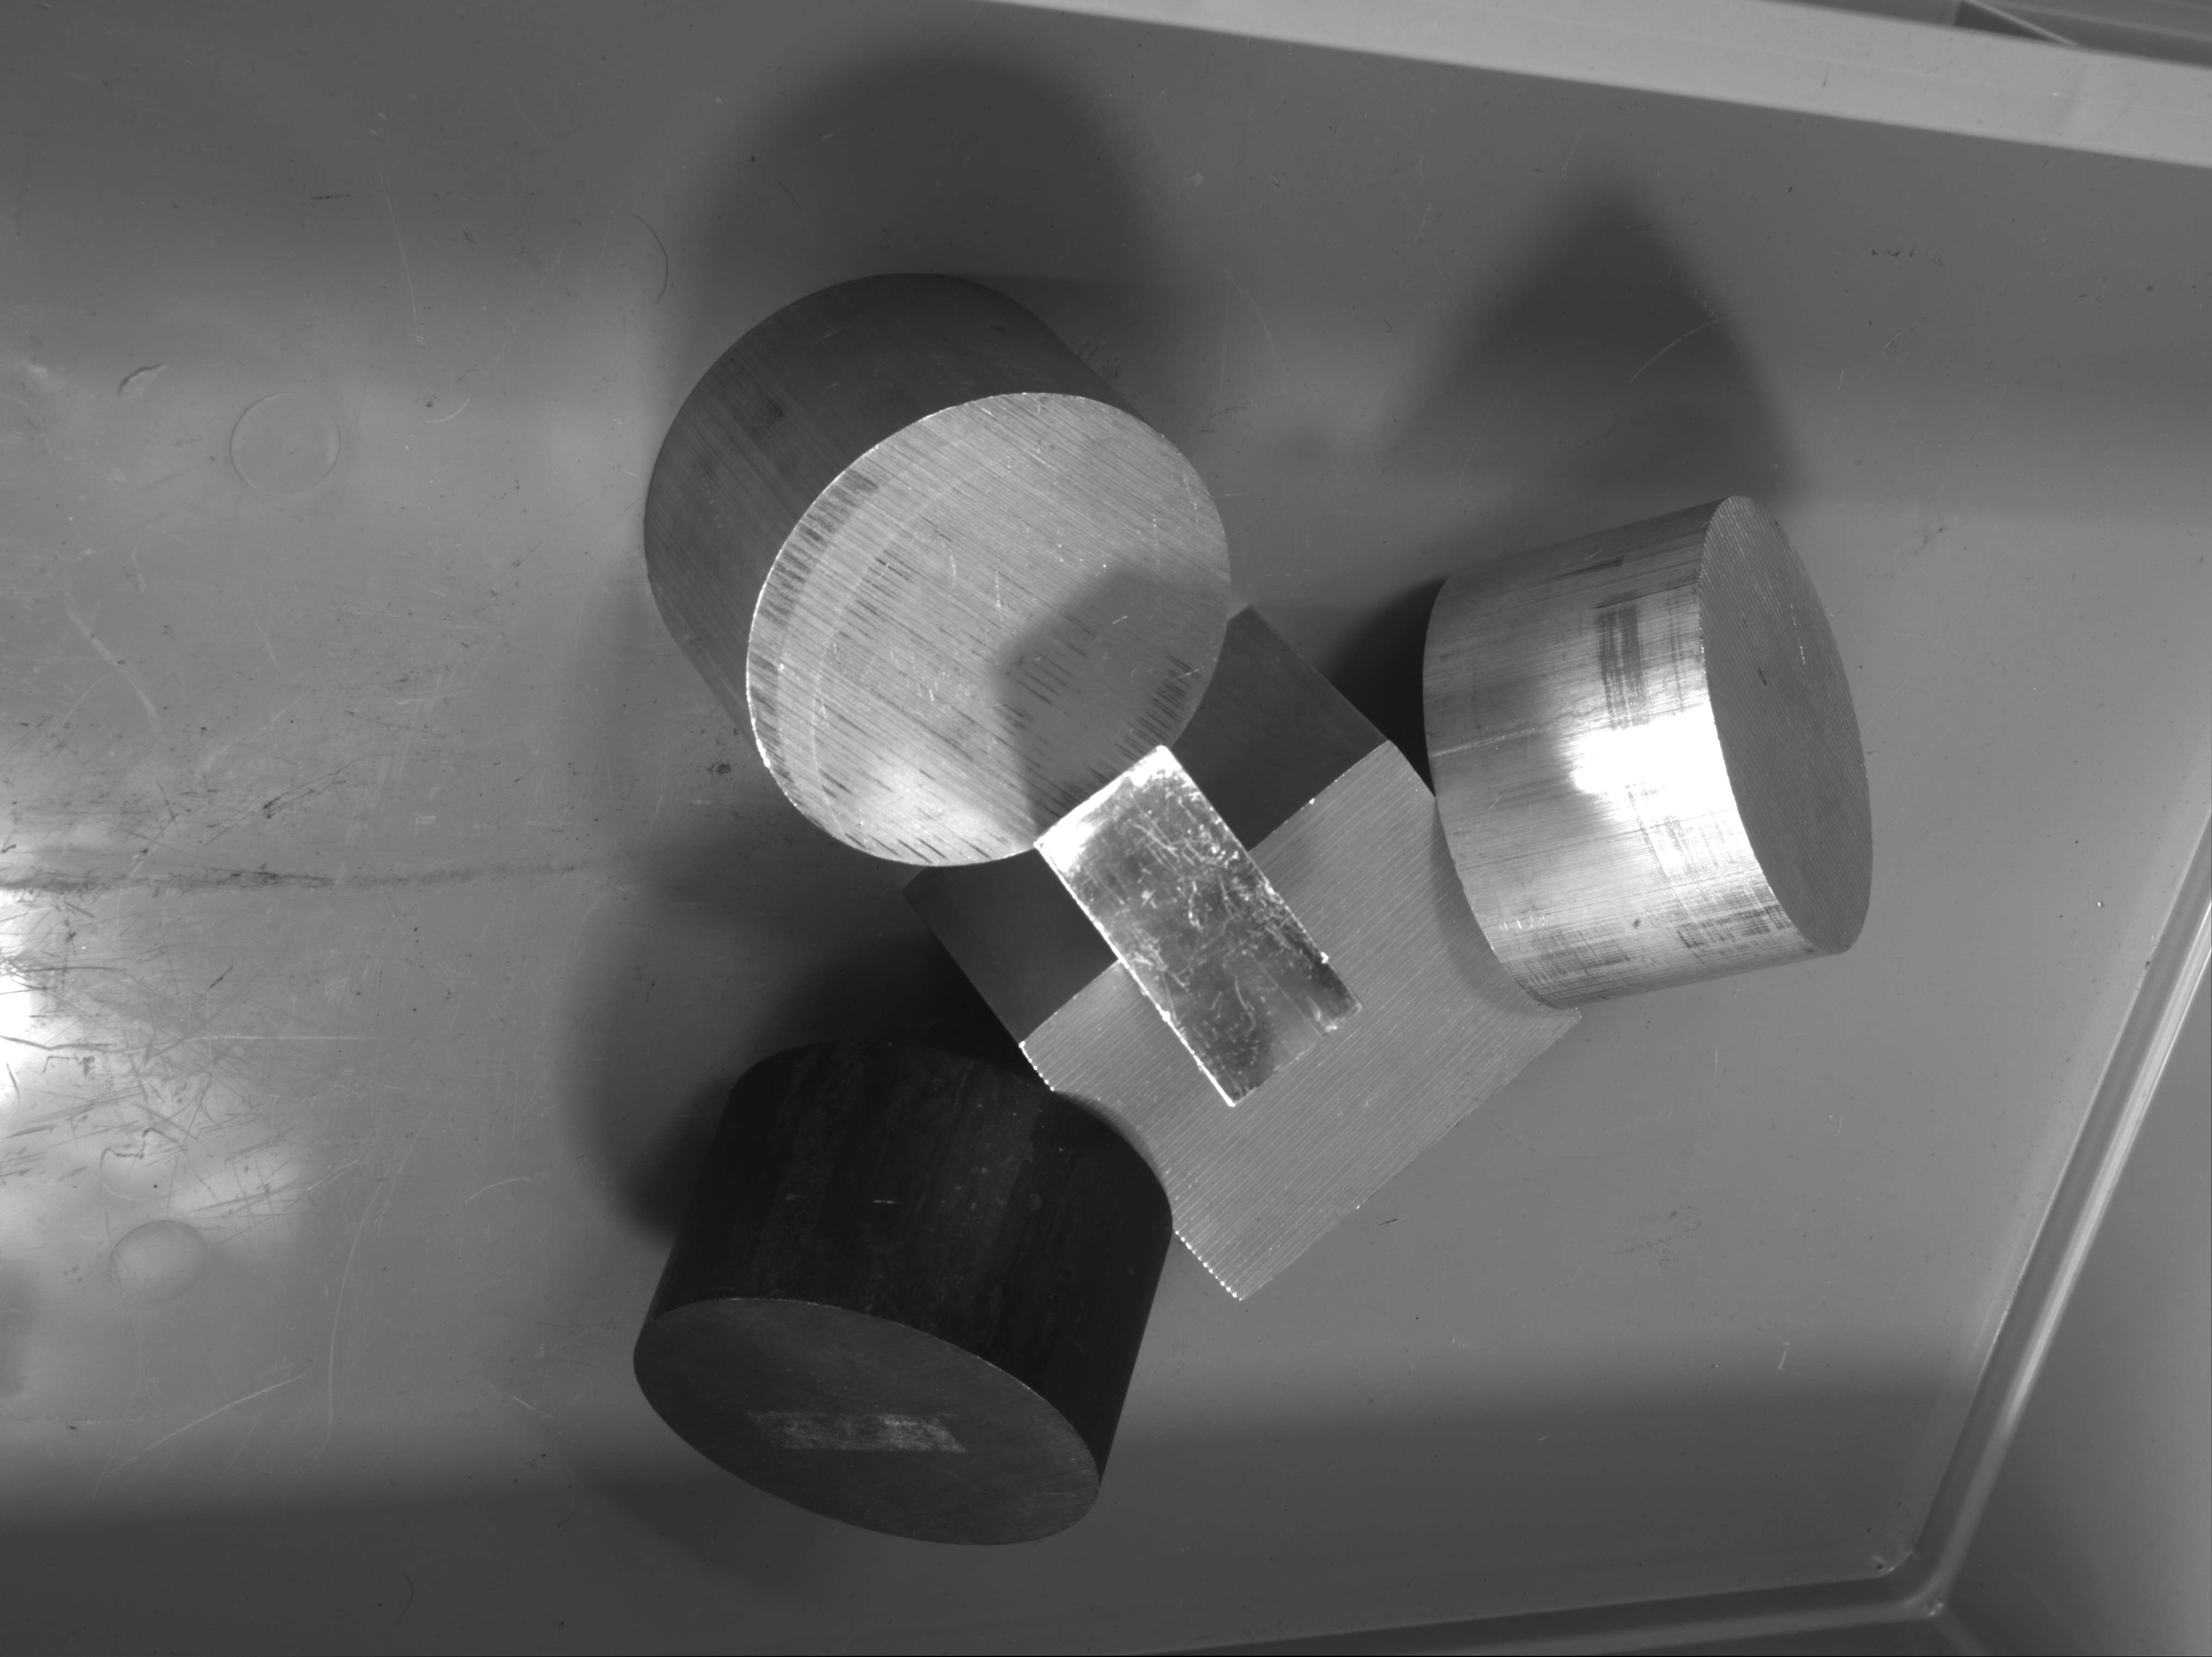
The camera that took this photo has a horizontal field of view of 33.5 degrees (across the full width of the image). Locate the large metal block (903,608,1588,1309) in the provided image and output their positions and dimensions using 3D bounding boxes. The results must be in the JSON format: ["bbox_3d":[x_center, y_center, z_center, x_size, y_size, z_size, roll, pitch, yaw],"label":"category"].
[{"bbox_3d":[0.025,0.023,0.645,0.080,0.050,0.080,-39,129,-2],"label":"large metal block"}]

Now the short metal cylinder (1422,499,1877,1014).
[{"bbox_3d":[0.095,-0.012,0.636,0.050,0.080,0.080,-14,135,28],"label":"short metal cylinder"}]

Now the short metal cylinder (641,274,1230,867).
[{"bbox_3d":[-0.027,-0.041,0.581,0.080,0.050,0.080,-13,124,-21],"label":"short metal cylinder"}]

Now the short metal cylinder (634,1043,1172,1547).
[{"bbox_3d":[-0.034,0.080,0.624,0.080,0.050,0.080,12,145,9],"label":"short metal cylinder"}]

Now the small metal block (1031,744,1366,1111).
[{"bbox_3d":[0.015,0.017,0.575,0.025,0.050,0.050,-37,85,-1],"label":"small metal block"}]
